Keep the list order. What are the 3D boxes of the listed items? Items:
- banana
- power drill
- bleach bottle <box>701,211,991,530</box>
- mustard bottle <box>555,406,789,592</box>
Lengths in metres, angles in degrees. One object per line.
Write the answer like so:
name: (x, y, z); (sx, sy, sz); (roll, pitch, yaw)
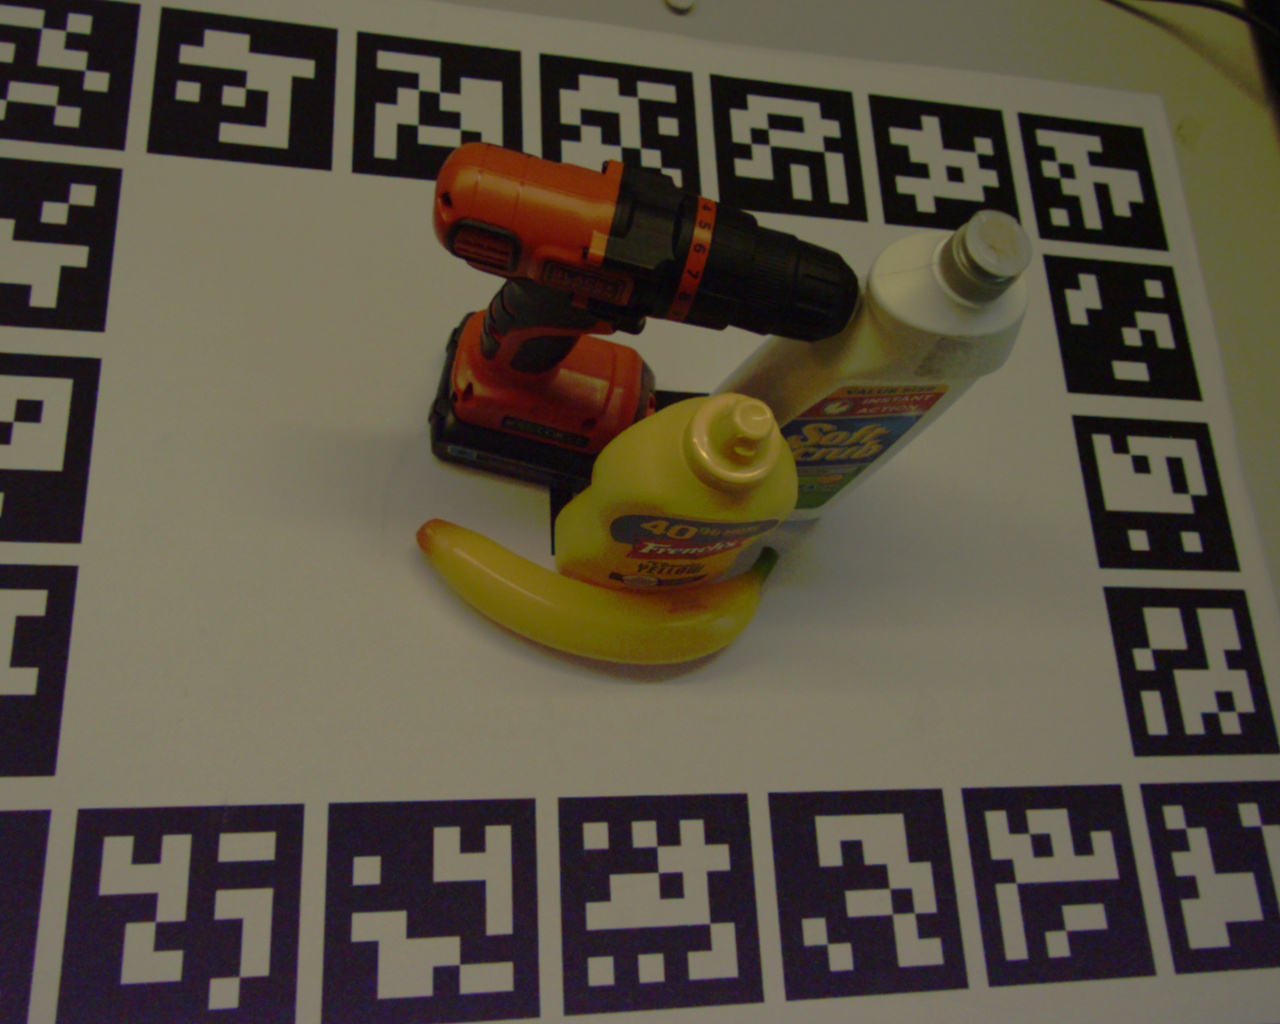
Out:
banana: (-0.020, 0.045, 0.638); (0.196, 0.039, 0.074); (7, 73, -9)
power drill: (-0.015, -0.083, 0.565); (0.183, 0.188, 0.057); (15, 69, -11)
bleach bottle: (0.093, -0.066, 0.582); (0.102, 0.251, 0.068); (6, 66, -13)
mustard bottle: (0.021, -0.007, 0.571); (0.095, 0.192, 0.058); (3, 73, -14)
